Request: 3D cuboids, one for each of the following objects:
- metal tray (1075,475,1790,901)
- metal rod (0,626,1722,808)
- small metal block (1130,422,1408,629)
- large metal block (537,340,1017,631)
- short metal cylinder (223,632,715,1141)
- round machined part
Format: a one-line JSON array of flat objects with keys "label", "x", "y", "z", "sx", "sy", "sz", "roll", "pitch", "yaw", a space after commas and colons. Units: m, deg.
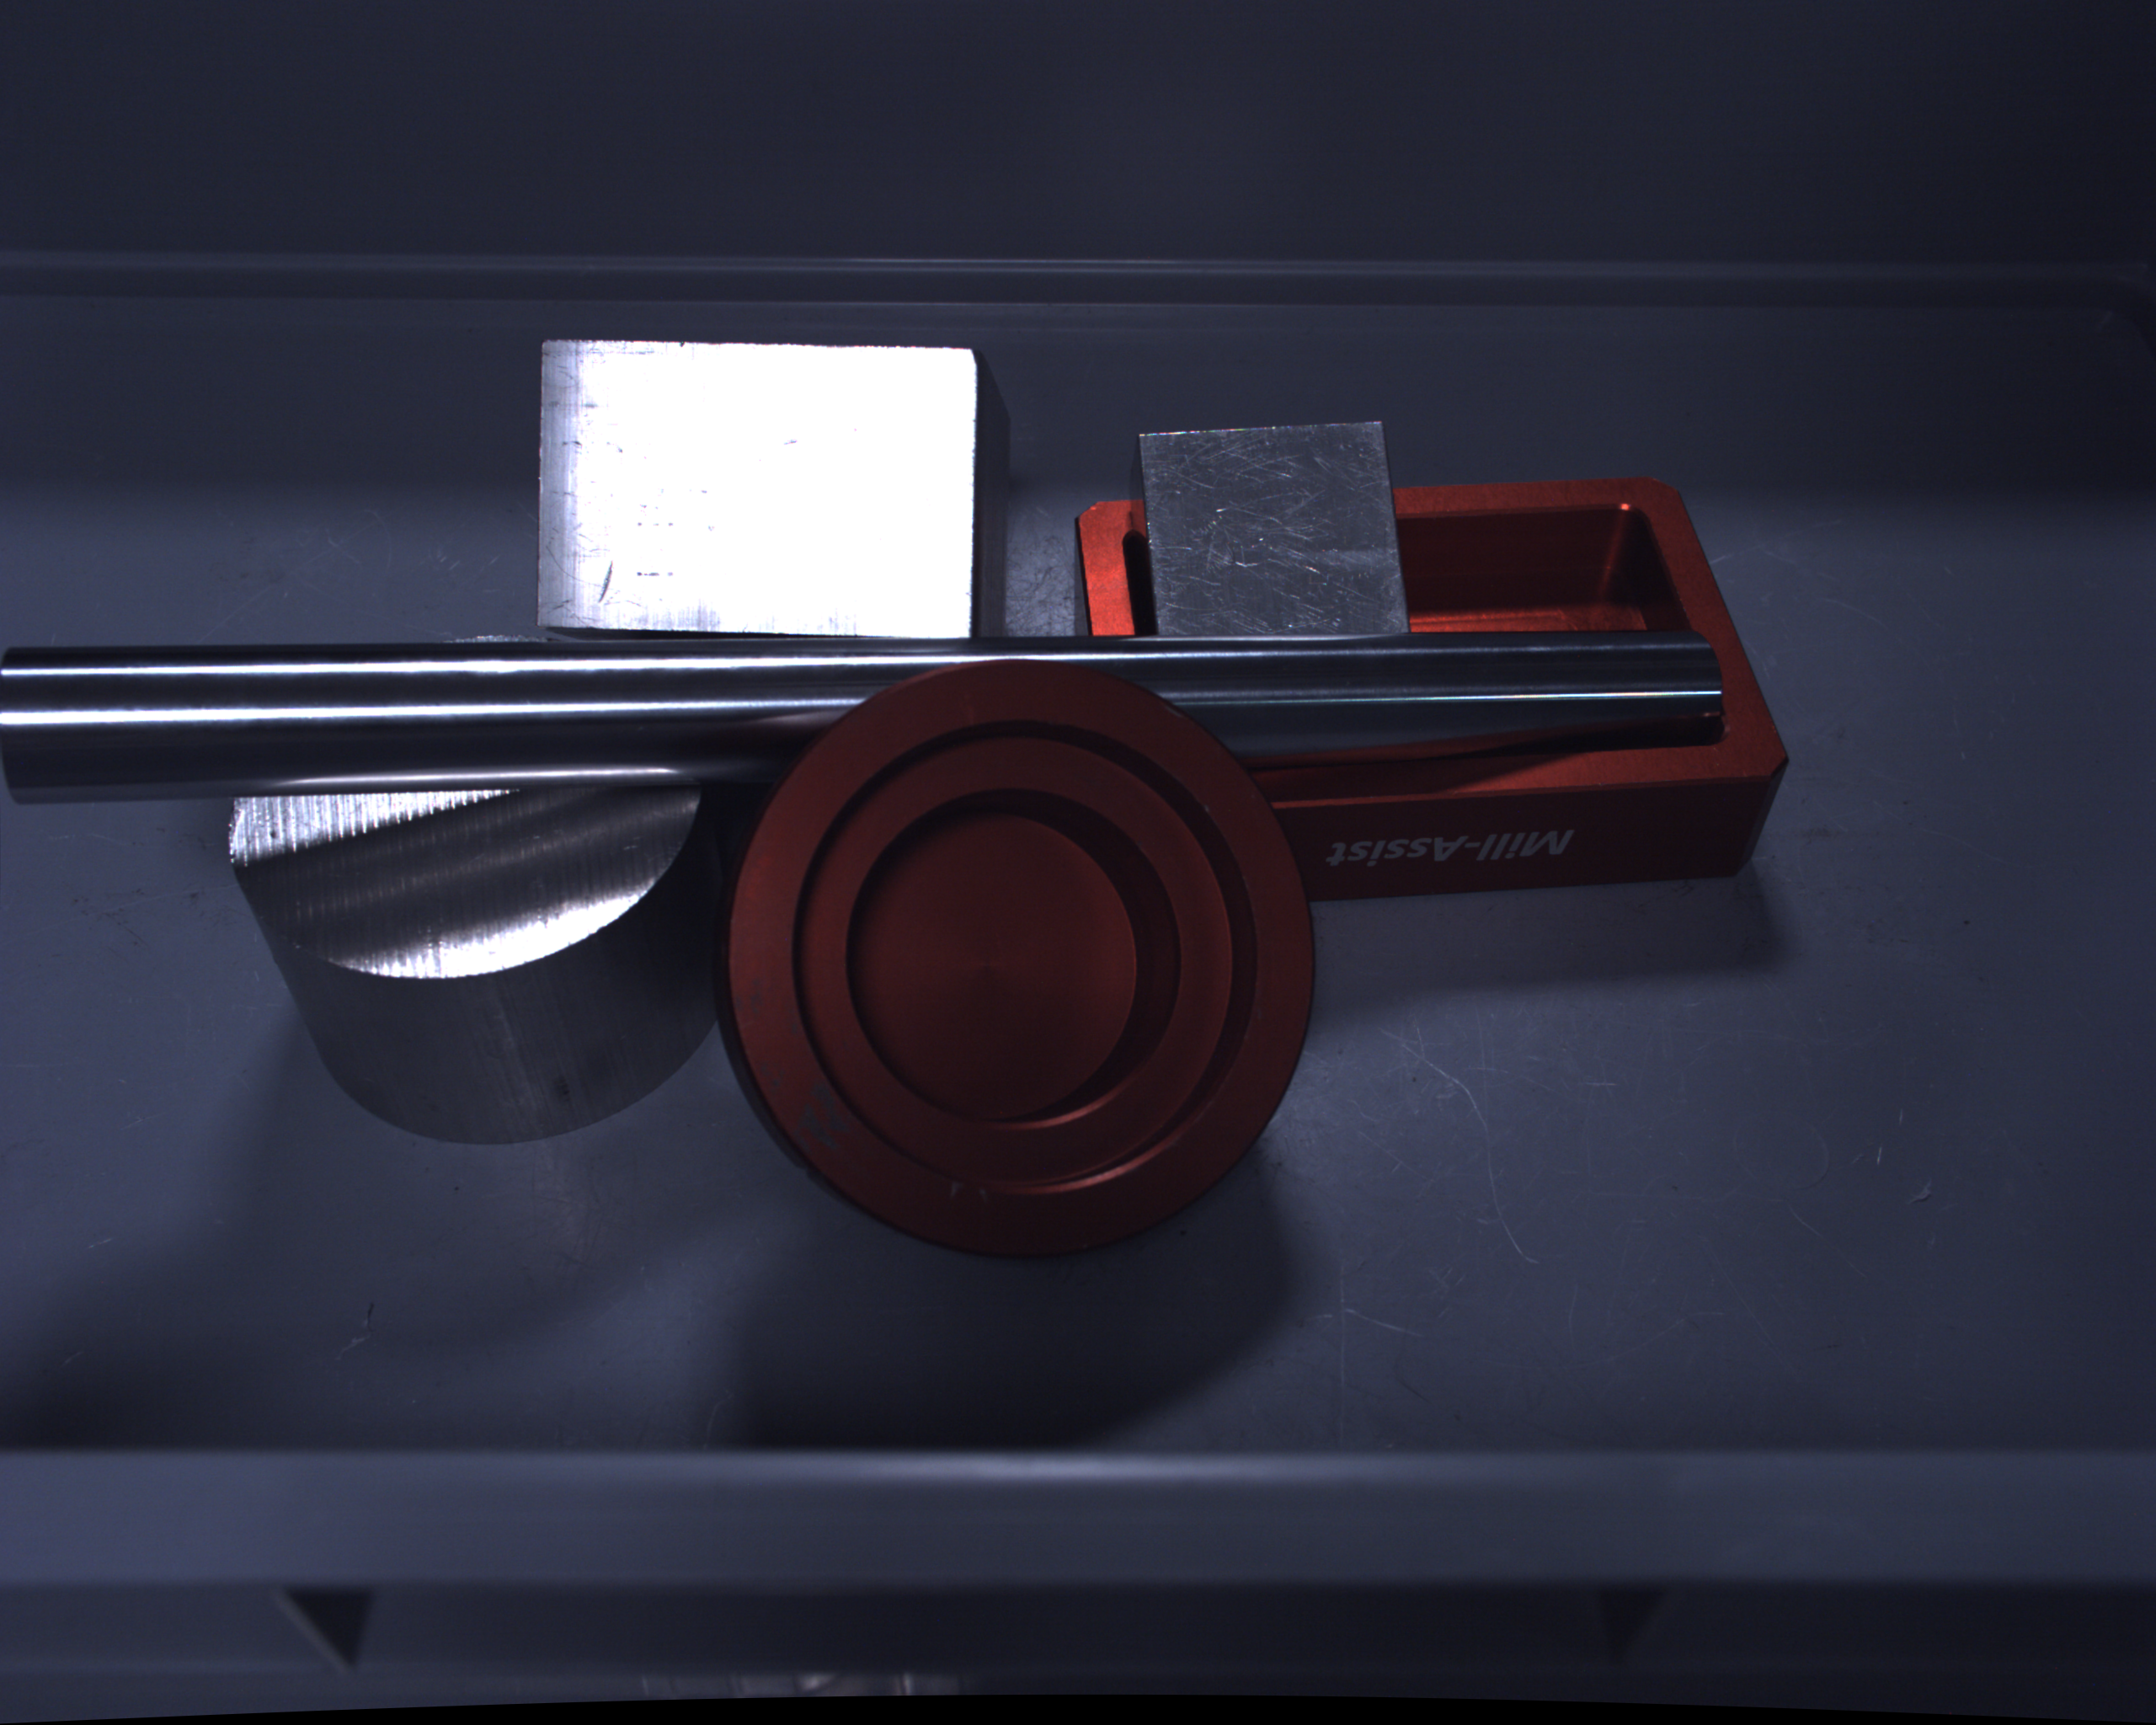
[{"label": "metal tray", "x": 0.068, "y": -0.037, "z": 0.431, "sx": 0.131, "sy": 0.030, "sz": 0.090, "roll": -3, "pitch": 50, "yaw": -4}, {"label": "metal rod", "x": -0.023, "y": -0.028, "z": 0.372, "sx": 0.303, "sy": 0.025, "sz": 0.025, "roll": -3, "pitch": 49, "yaw": -17}, {"label": "small metal block", "x": 0.038, "y": -0.061, "z": 0.427, "sx": 0.050, "sy": 0.025, "sz": 0.050, "roll": -4, "pitch": 76, "yaw": -3}, {"label": "large metal block", "x": -0.056, "y": -0.070, "z": 0.416, "sx": 0.080, "sy": 0.080, "sz": 0.050, "roll": 2, "pitch": 92, "yaw": 2}, {"label": "short metal cylinder", "x": -0.107, "y": 0.004, "z": 0.381, "sx": 0.081, "sy": 0.050, "sz": 0.080, "roll": 0, "pitch": 50, "yaw": 0}, {"label": "round machined part", "x": -0.013, "y": 0.017, "z": 0.357, "sx": 0.099, "sy": 0.042, "sz": 0.097, "roll": 2, "pitch": 83, "yaw": -15}]
